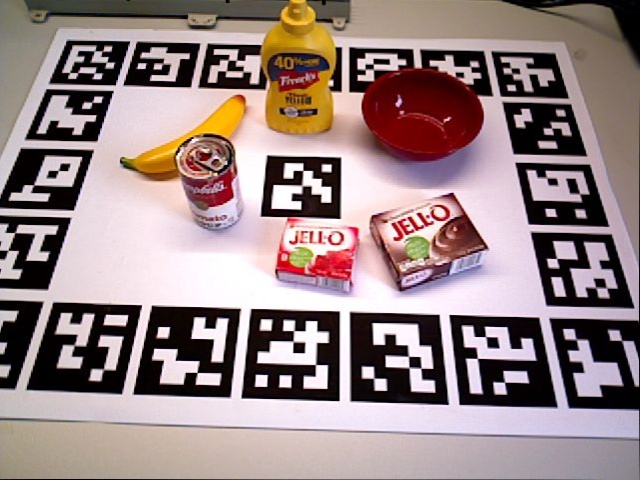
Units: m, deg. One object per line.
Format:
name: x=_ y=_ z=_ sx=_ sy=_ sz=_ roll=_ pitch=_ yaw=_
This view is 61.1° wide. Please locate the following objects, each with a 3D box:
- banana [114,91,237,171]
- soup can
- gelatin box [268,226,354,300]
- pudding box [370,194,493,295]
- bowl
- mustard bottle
banana: x=-0.177 y=-0.144 z=0.728 sx=0.074 sy=0.039 sz=0.194 roll=35 pitch=63 yaw=31
soup can: x=-0.137 y=-0.072 z=0.633 sx=0.067 sy=0.104 sz=0.067 roll=1 pitch=55 yaw=-3
gelatin box: x=-0.009 y=0.025 z=0.626 sx=0.089 sy=0.031 sz=0.072 roll=8 pitch=61 yaw=5
pudding box: x=0.127 y=0.004 z=0.635 sx=0.112 sy=0.039 sz=0.089 roll=-19 pitch=65 yaw=-12
bowl: x=0.139 y=-0.155 z=0.731 sx=0.161 sy=0.056 sz=0.159 roll=-1 pitch=56 yaw=0
mustard bottle: x=-0.027 y=-0.222 z=0.673 sx=0.096 sy=0.195 sz=0.057 roll=3 pitch=54 yaw=0
